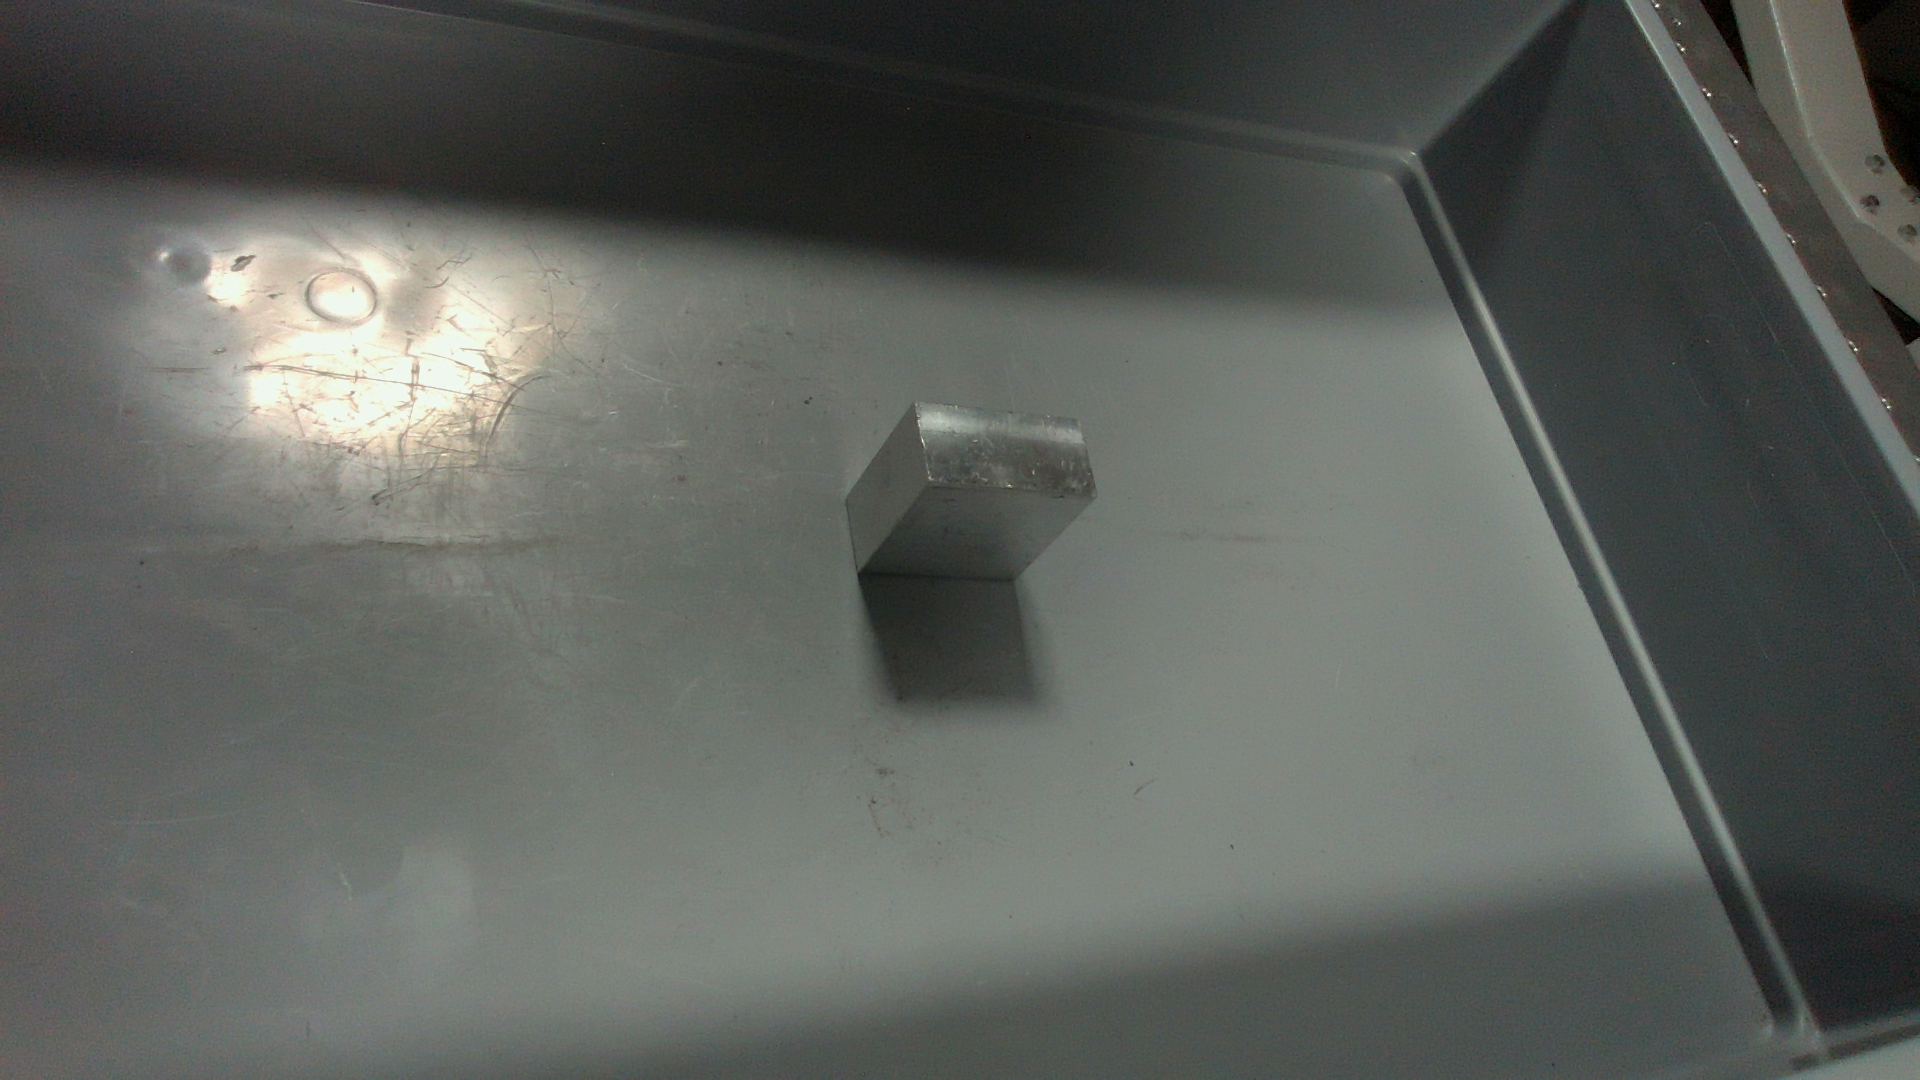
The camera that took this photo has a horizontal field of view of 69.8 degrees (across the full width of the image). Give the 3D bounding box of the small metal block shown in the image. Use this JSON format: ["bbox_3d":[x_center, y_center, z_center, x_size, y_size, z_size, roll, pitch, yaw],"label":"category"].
[{"bbox_3d":[0.002,-0.012,0.378,0.050,0.050,0.025,3,60,-27],"label":"small metal block"}]
